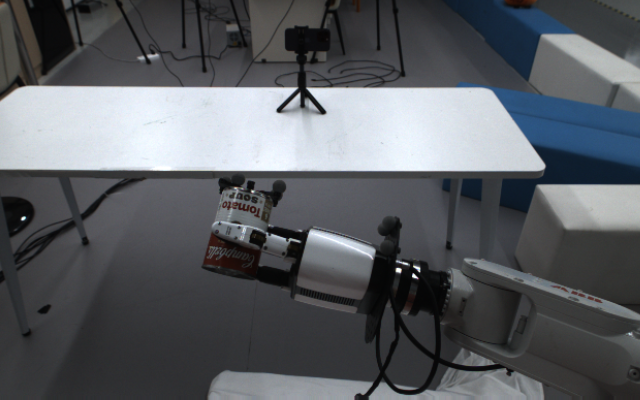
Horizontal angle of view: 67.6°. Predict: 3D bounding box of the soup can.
[{"bbox_3d":[-0.099,0.043,0.602,0.067,0.067,0.101,9,74,9],"label":"soup can"}]
